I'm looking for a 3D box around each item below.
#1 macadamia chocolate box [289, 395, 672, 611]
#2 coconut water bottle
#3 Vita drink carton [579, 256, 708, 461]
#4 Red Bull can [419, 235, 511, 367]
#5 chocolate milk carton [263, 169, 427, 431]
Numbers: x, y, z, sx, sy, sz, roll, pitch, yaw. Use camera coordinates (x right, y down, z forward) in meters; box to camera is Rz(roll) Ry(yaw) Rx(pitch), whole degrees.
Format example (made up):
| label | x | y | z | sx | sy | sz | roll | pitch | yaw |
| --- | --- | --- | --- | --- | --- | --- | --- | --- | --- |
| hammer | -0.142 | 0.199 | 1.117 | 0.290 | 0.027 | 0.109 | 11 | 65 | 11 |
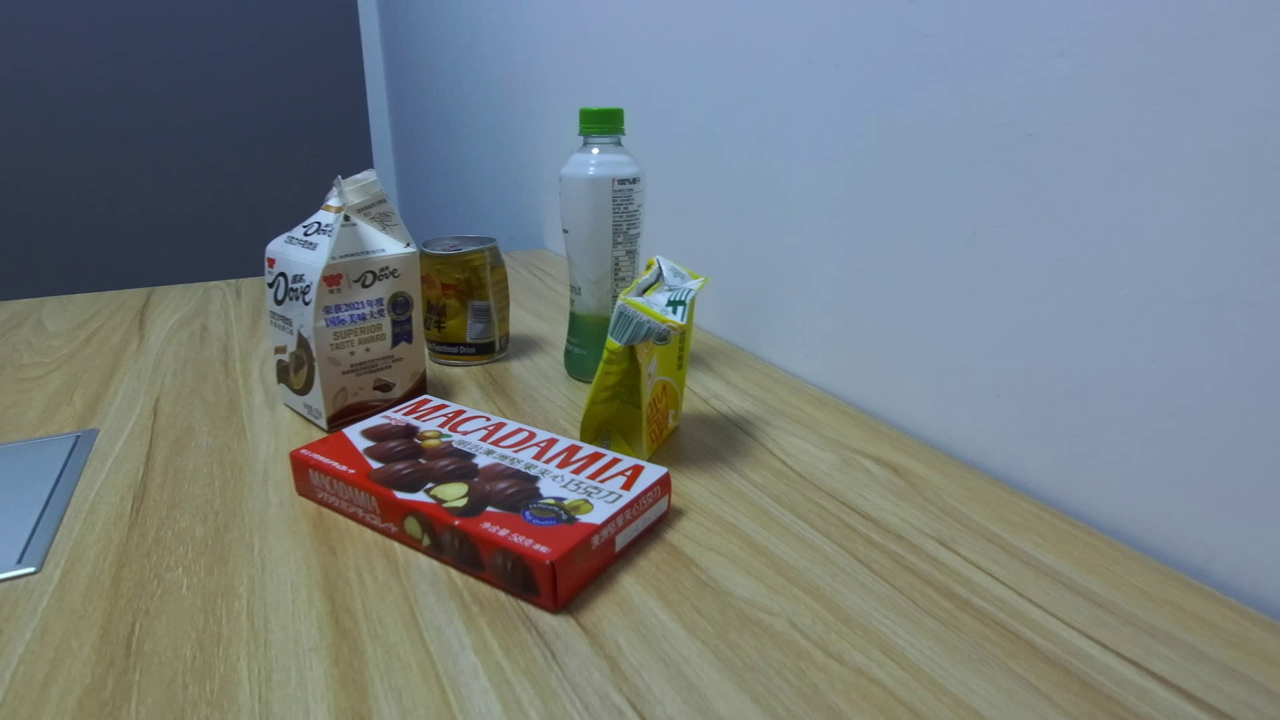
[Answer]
| label | x | y | z | sx | sy | sz | roll | pitch | yaw |
| --- | --- | --- | --- | --- | --- | --- | --- | --- | --- |
| macadamia chocolate box | -0.083 | 0.063 | 0.363 | 0.177 | 0.027 | 0.096 | 13 | 24 | 30 |
| coconut water bottle | -0.025 | -0.078 | 0.500 | 0.063 | 0.188 | 0.063 | 0 | 12 | 0 |
| Vita drink carton | 0.005 | 0.003 | 0.406 | 0.042 | 0.108 | 0.087 | 21 | 29 | 15 |
| Red Bull can | -0.141 | -0.049 | 0.564 | 0.072 | 0.092 | 0.072 | 0 | 22 | 0 |
| chocolate milk carton | -0.191 | -0.043 | 0.456 | 0.076 | 0.155 | 0.074 | 18 | 25 | 39 |
